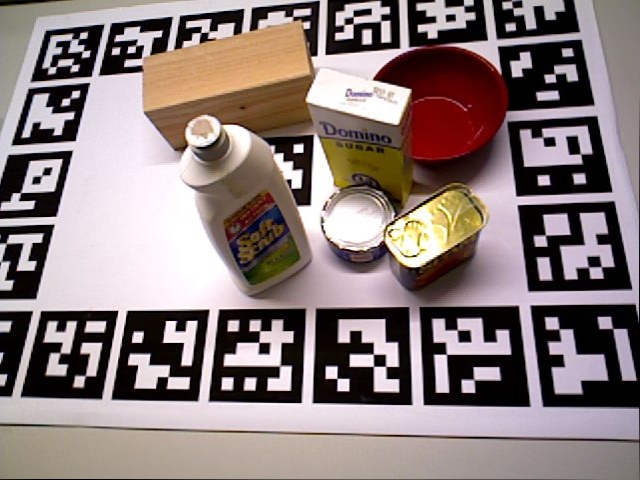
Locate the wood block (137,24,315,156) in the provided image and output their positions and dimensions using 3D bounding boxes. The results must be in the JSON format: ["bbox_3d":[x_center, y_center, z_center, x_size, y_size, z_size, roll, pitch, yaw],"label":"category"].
[{"bbox_3d":[-0.115,-0.185,0.678,0.206,0.091,0.090,-11,69,5],"label":"wood block"}]

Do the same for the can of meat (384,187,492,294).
[{"bbox_3d":[0.119,0.002,0.557,0.101,0.085,0.057,-29,61,-6],"label":"can of meat"}]

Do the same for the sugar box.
[{"bbox_3d":[0.051,-0.097,0.554,0.093,0.178,0.045,17,71,20],"label":"sugar box"}]

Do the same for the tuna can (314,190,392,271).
[{"bbox_3d":[0.038,-0.010,0.598,0.086,0.034,0.085,-4,69,9],"label":"tuna can"}]

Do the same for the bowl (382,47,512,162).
[{"bbox_3d":[0.141,-0.148,0.630,0.162,0.055,0.160,-6,65,12],"label":"bowl"}]

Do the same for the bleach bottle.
[{"bbox_3d":[-0.076,-0.029,0.511,0.102,0.253,0.067,-25,63,-3],"label":"bleach bottle"}]
